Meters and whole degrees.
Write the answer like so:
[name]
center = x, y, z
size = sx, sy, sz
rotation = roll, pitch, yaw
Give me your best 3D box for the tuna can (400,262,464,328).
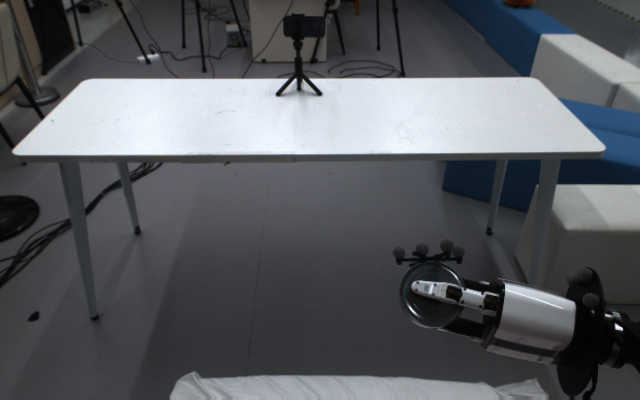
[tuna can]
center = 0.149, 0.124, 0.641
size = 0.085, 0.034, 0.085
rotation = -3, 66, 7
